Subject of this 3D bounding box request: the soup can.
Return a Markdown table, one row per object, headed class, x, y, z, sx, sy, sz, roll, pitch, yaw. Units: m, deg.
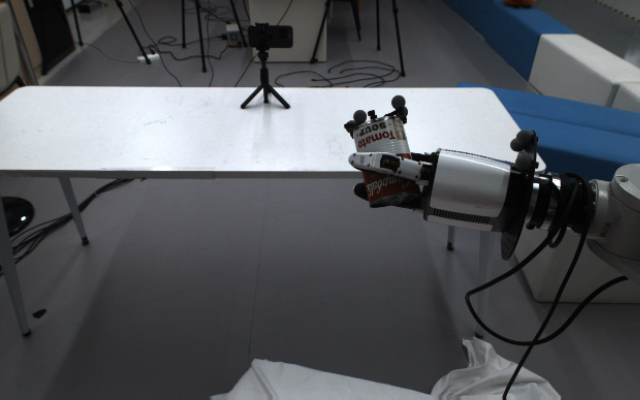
| class | x | y | z | sx | sy | sz | roll | pitch | yaw |
| --- | --- | --- | --- | --- | --- | --- | --- | --- | --- |
| soup can | 0.086 | -0.048 | 0.622 | 0.067 | 0.067 | 0.101 | -10 | 79 | -16 |
